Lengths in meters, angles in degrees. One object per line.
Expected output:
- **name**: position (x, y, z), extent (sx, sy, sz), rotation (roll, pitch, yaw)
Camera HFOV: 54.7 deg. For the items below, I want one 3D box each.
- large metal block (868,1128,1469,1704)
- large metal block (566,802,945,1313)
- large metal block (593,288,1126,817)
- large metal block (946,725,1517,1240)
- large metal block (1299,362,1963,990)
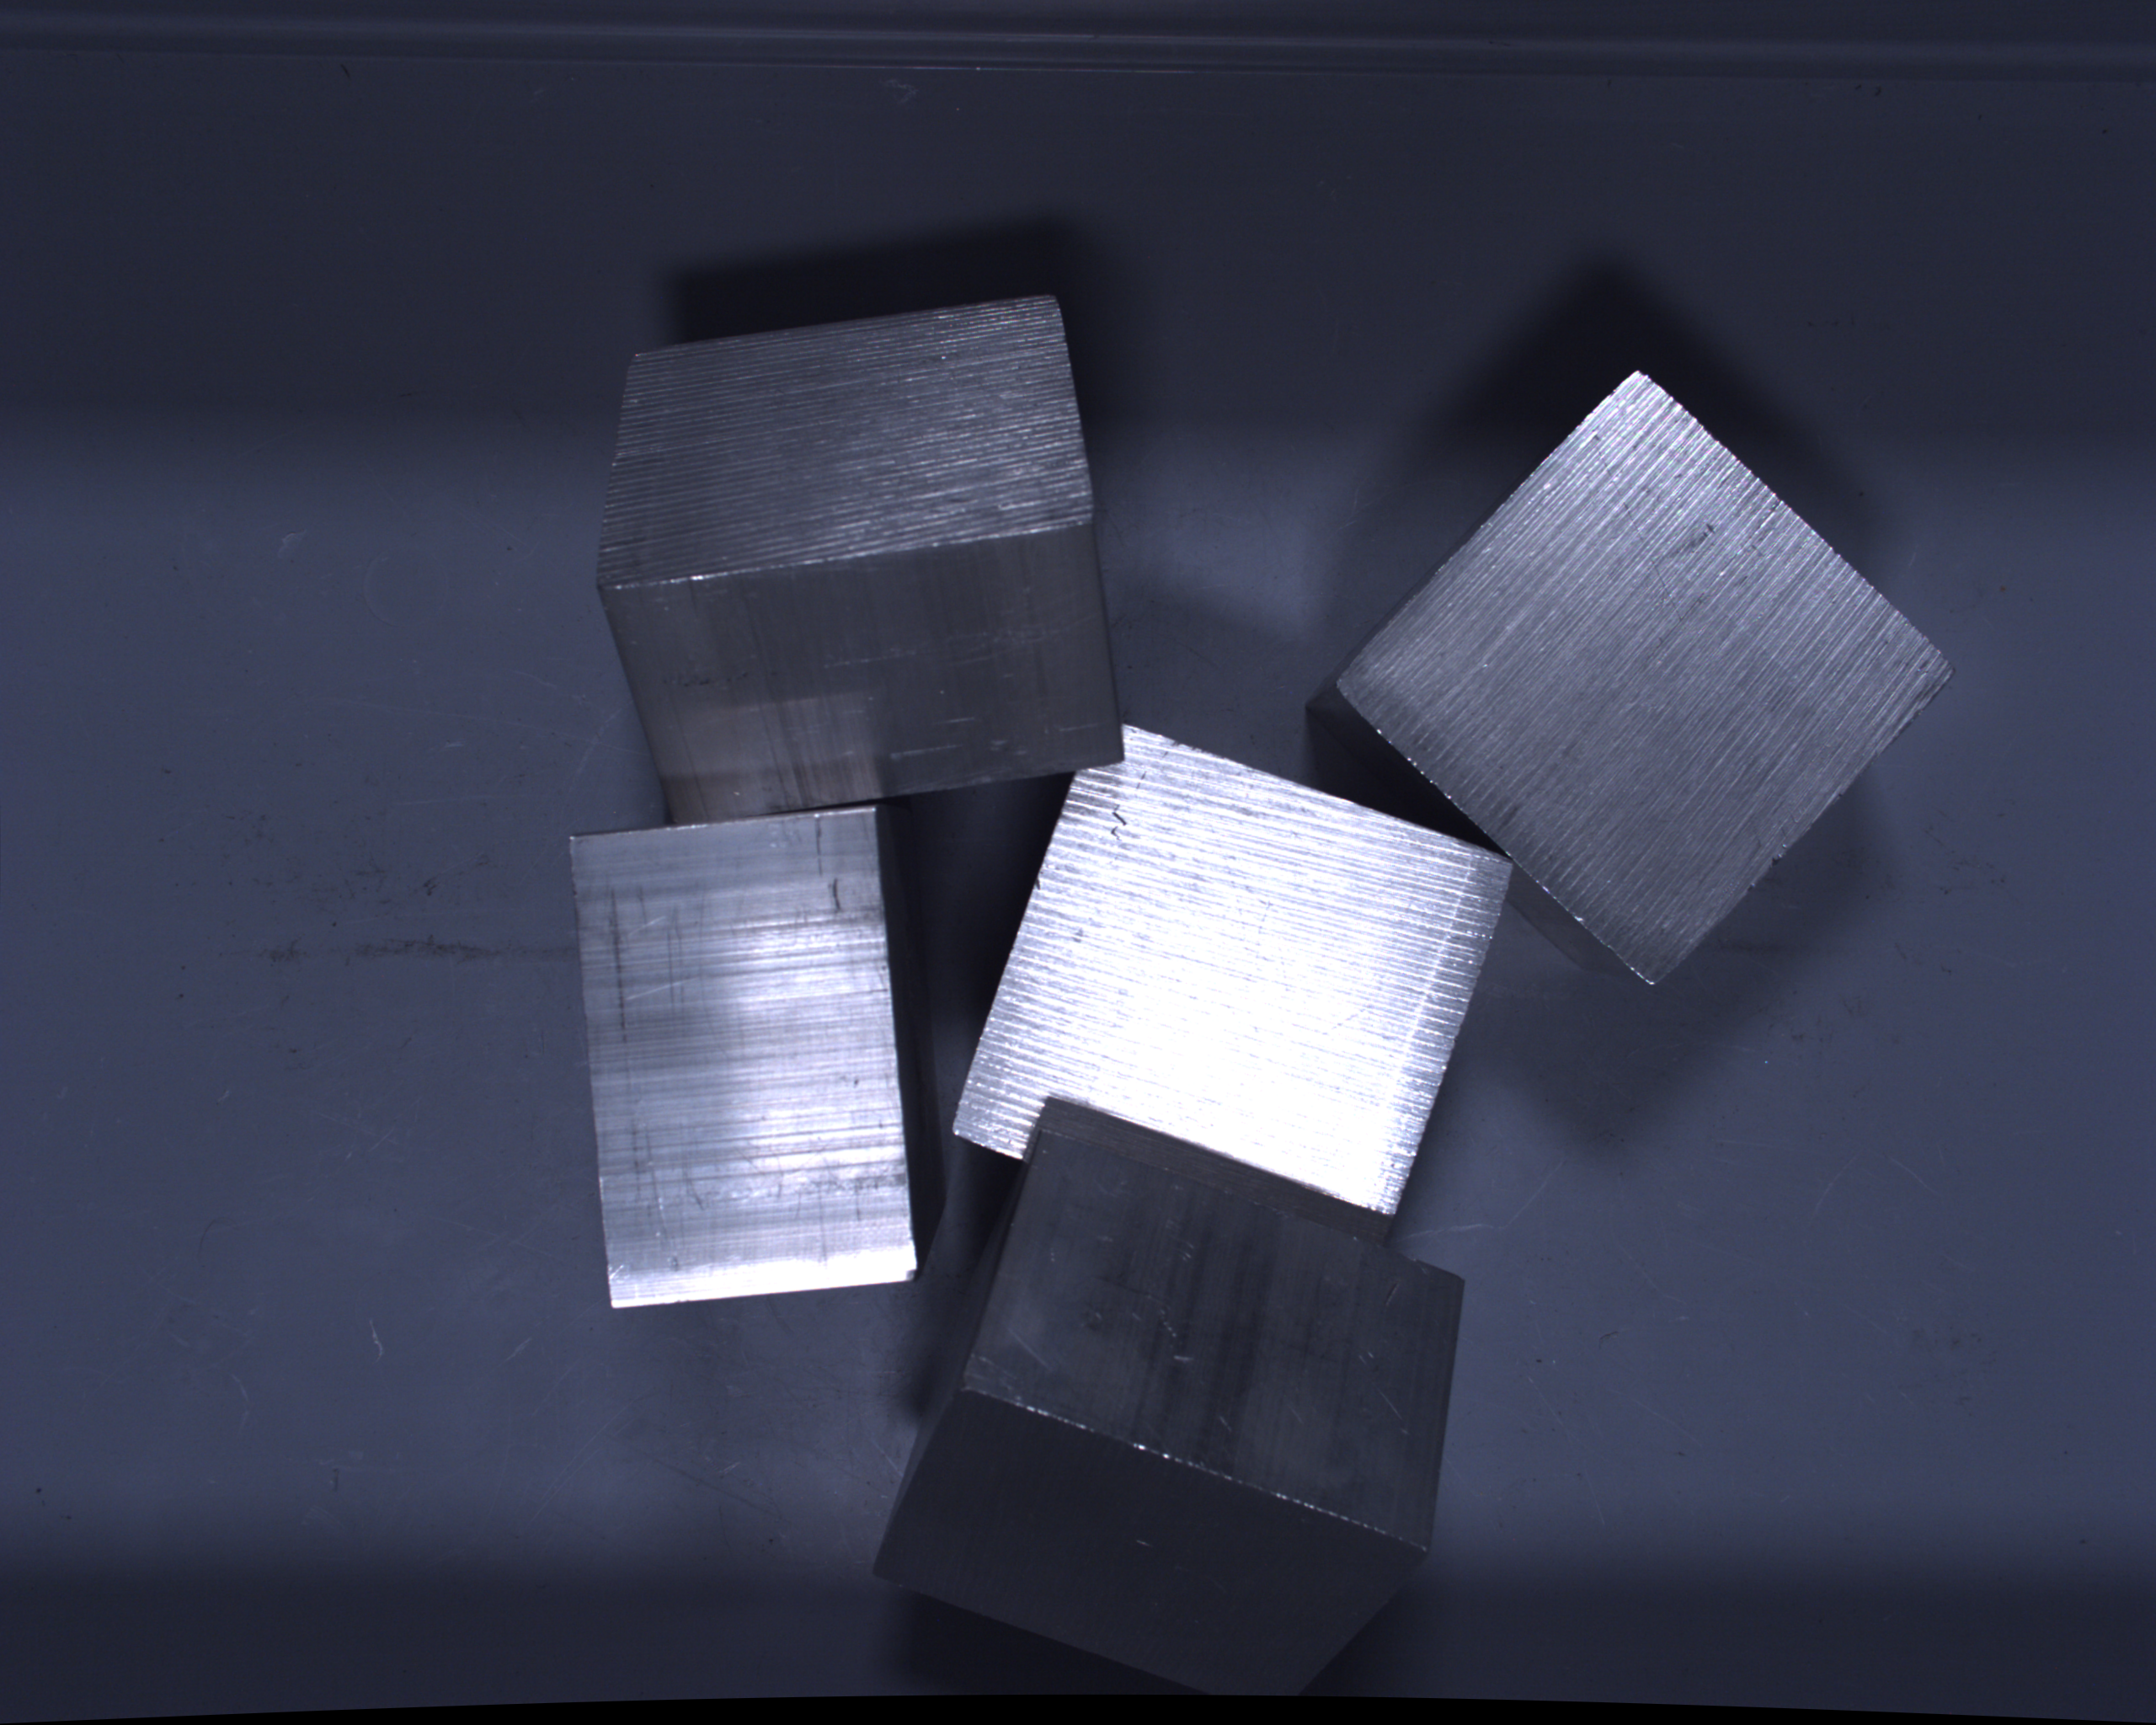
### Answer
- **large metal block**: position (0.015, 0.102, 0.376), extent (0.080, 0.079, 0.050), rotation (20, 48, -2)
- **large metal block**: position (-0.055, 0.032, 0.382), extent (0.050, 0.080, 0.079), rotation (-6, 90, 0)
- **large metal block**: position (-0.037, -0.057, 0.376), extent (0.081, 0.080, 0.050), rotation (-7, 132, 0)
- **large metal block**: position (0.028, 0.024, 0.399), extent (0.080, 0.050, 0.080), rotation (19, 90, -1)
- **large metal block**: position (0.102, -0.034, 0.399), extent (0.080, 0.050, 0.080), rotation (44, 90, -1)
